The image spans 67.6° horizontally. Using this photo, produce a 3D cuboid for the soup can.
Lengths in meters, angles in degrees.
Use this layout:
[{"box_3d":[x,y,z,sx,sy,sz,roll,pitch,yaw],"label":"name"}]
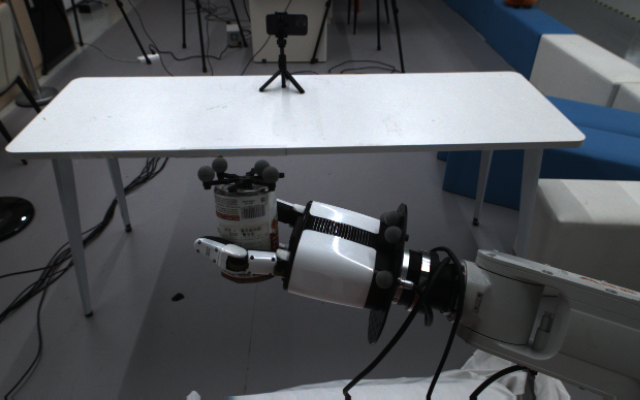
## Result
[{"box_3d":[-0.077,0.032,0.532,0.067,0.101,0.067,-2,17,0],"label":"soup can"}]
